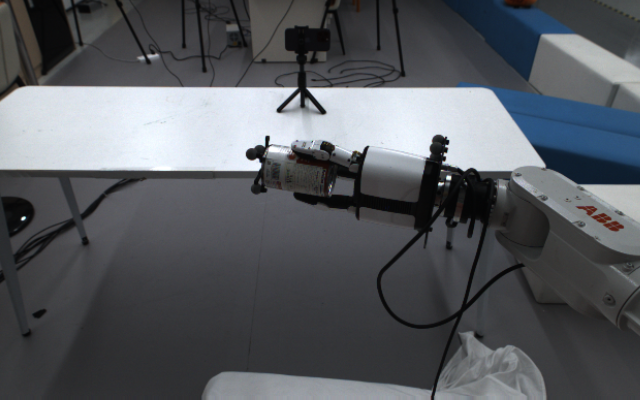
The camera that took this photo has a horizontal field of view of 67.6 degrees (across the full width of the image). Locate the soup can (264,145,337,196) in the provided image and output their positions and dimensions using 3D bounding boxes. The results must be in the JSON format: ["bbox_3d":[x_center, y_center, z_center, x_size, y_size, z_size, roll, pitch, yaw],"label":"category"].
[{"bbox_3d":[-0.028,-0.043,0.723,0.101,0.067,0.067,10,35,10],"label":"soup can"}]
